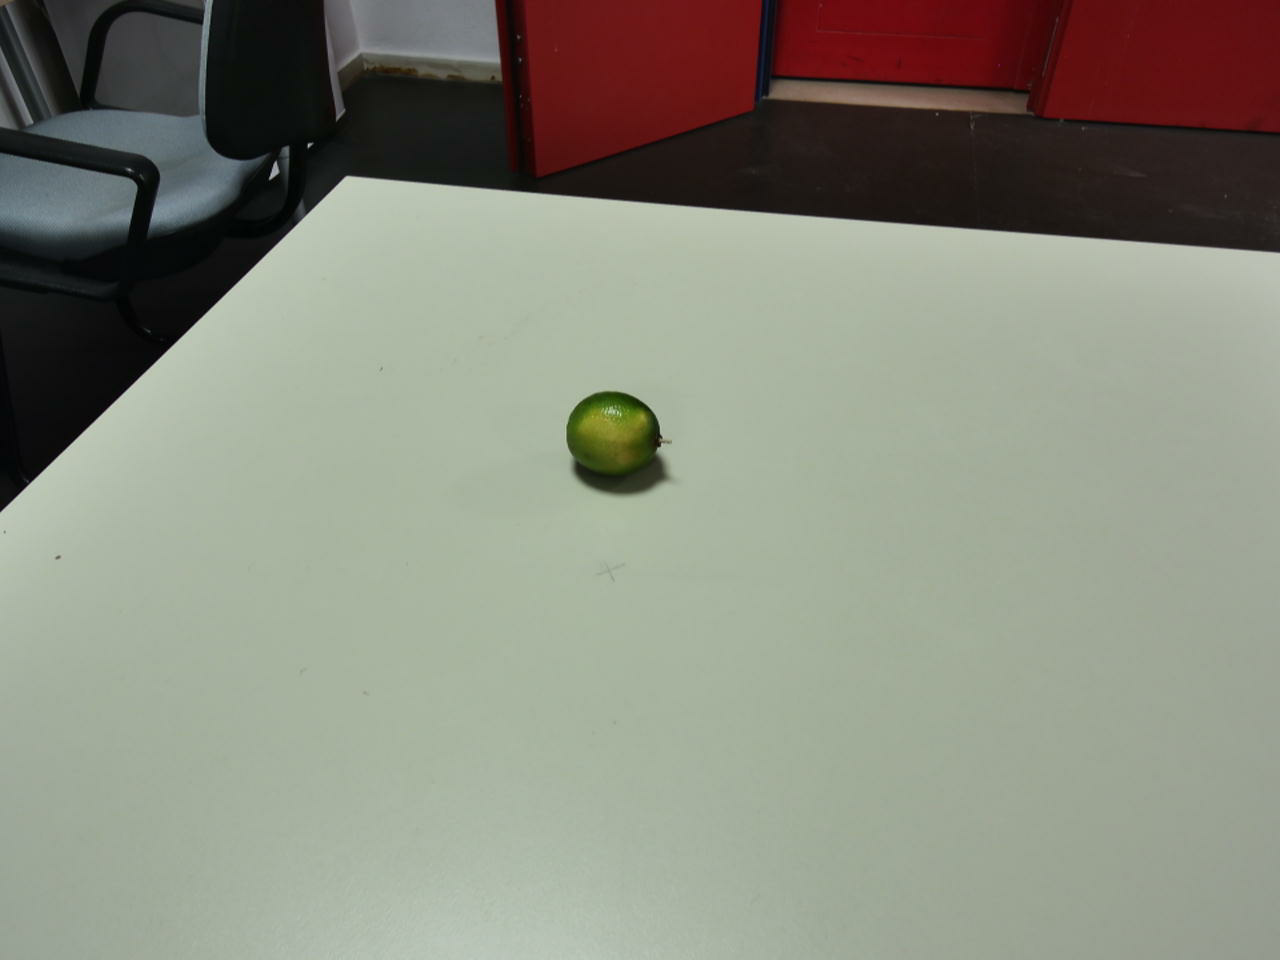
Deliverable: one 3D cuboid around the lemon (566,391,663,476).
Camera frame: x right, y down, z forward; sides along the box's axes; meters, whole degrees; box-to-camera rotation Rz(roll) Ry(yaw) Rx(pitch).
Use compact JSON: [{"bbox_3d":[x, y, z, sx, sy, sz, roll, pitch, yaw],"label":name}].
[{"bbox_3d":[-0.017,-0.028,0.608,0.054,0.050,0.055,-17,42,-21],"label":"lemon"}]
